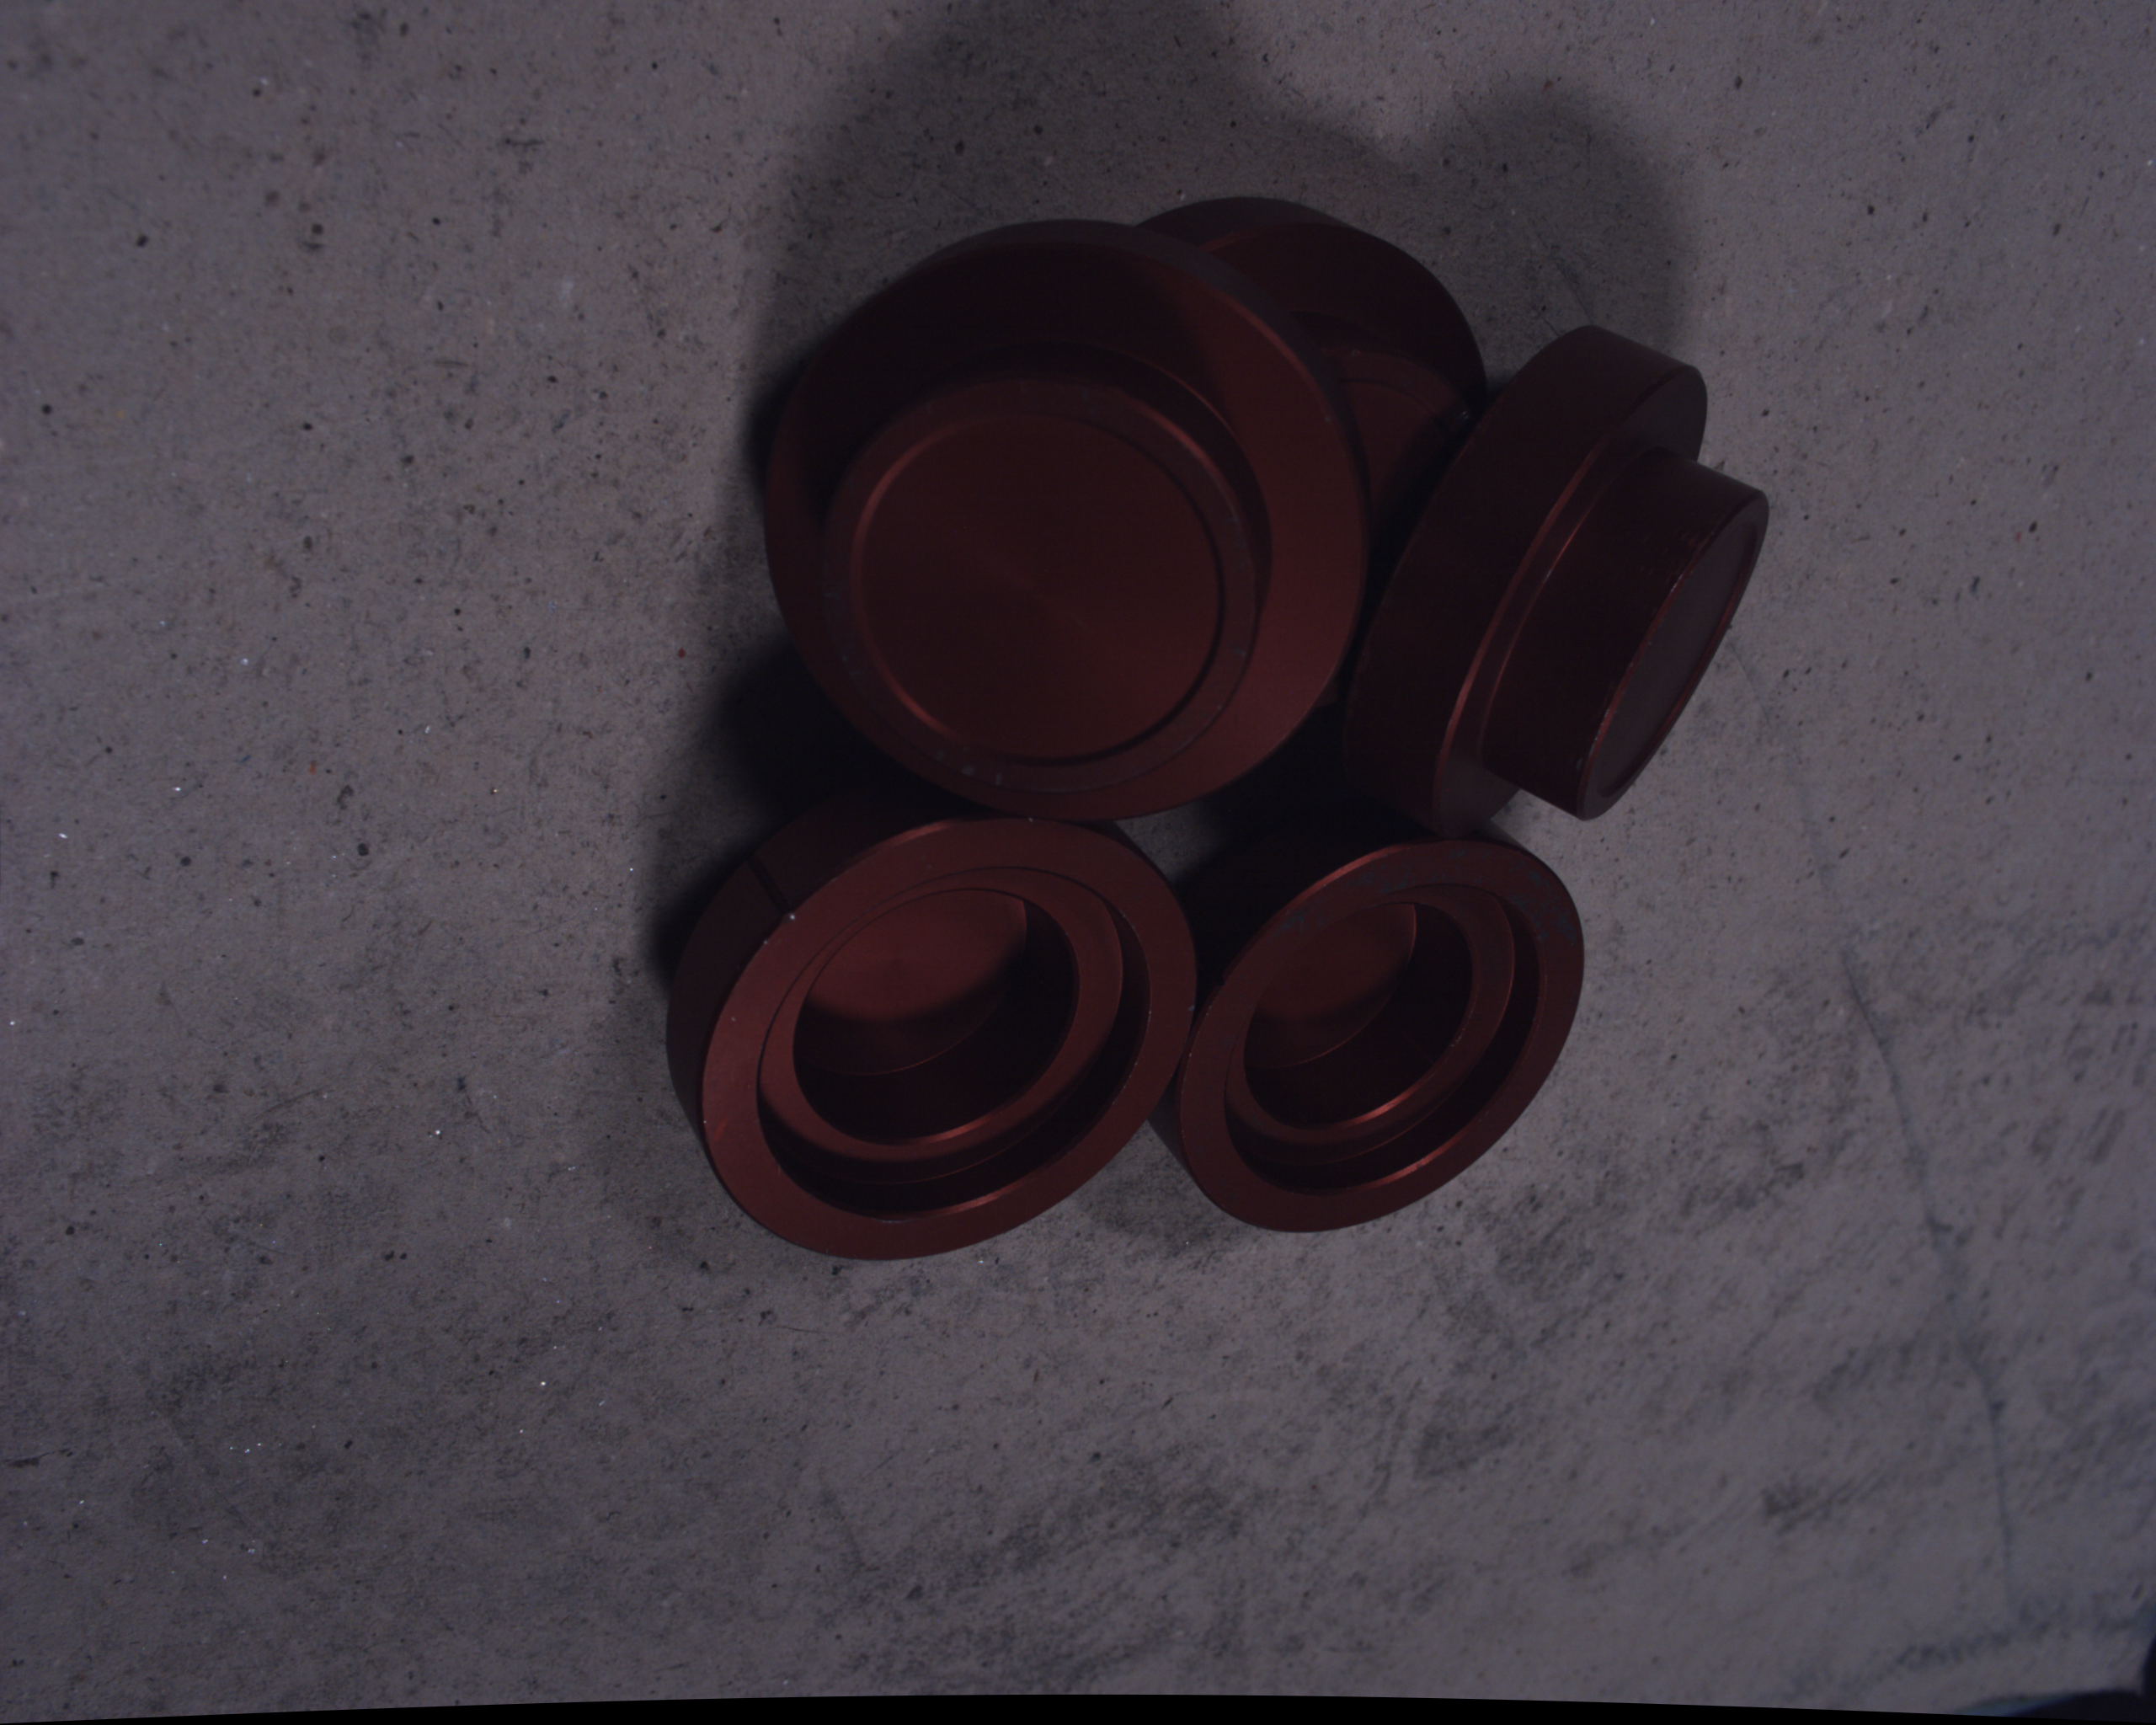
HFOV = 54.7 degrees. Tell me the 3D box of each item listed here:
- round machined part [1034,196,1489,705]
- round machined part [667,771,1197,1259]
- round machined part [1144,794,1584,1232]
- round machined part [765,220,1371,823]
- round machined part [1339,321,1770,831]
[{"bbox_3d":[0.034,-0.066,0.376,0.099,0.042,0.097,-14,125,-21],"label":"round machined part"},{"bbox_3d":[-0.030,0.024,0.397,0.099,0.042,0.097,-14,125,-21],"label":"round machined part"},{"bbox_3d":[0.055,0.027,0.446,0.099,0.042,0.097,-14,125,-21],"label":"round machined part"},{"bbox_3d":[-0.003,-0.050,0.336,0.099,0.042,0.097,3,117,7],"label":"round machined part"},{"bbox_3d":[0.094,-0.048,0.393,0.098,0.042,0.097,-46,155,-28],"label":"round machined part"}]
